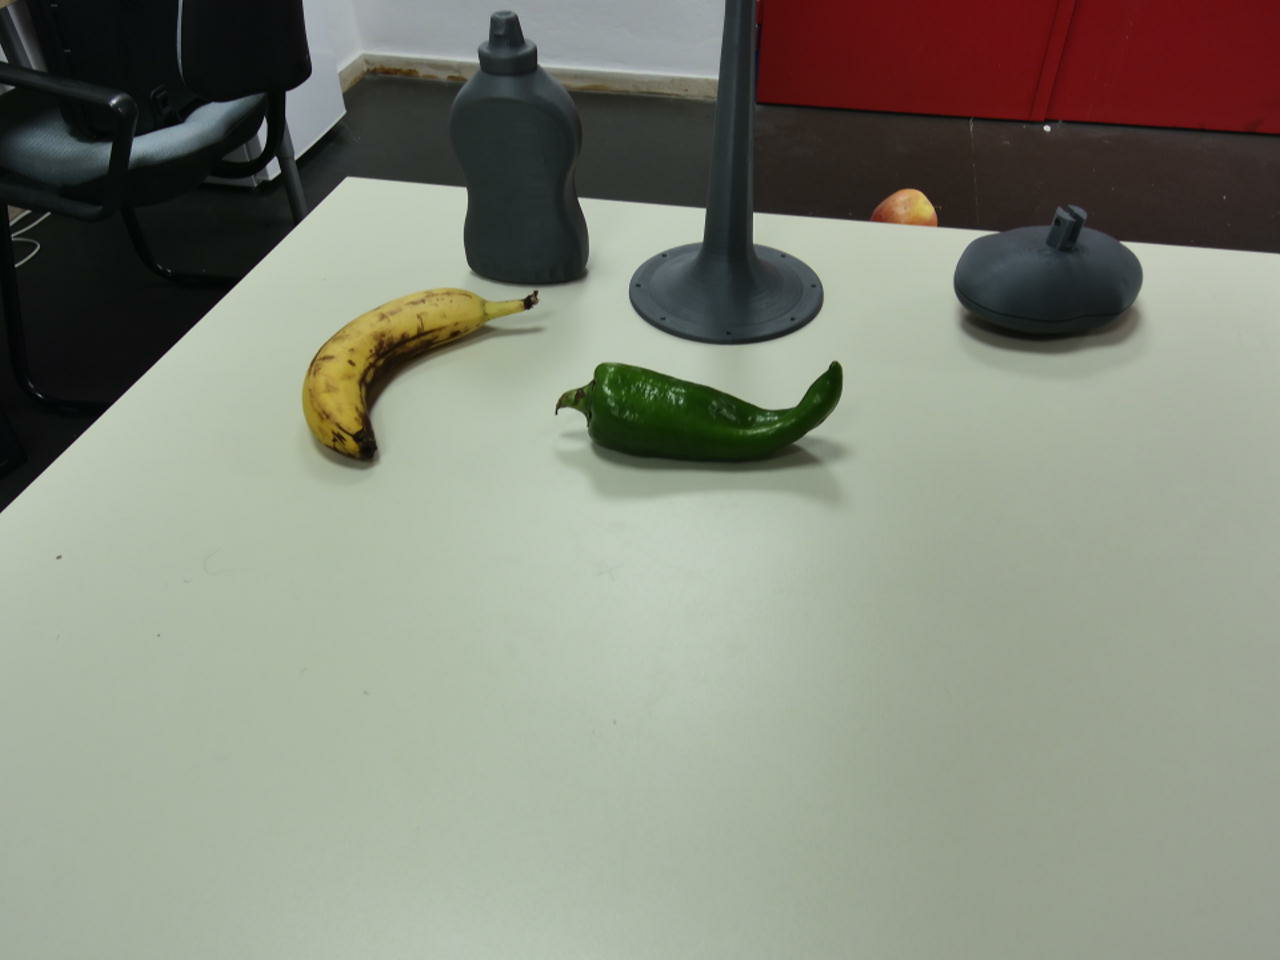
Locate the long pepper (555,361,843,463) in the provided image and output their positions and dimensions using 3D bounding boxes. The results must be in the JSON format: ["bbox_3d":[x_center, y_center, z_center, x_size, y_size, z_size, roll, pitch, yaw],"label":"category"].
[{"bbox_3d":[0.033,-0.046,0.606,0.175,0.065,0.058,6,40,9],"label":"long pepper"}]
